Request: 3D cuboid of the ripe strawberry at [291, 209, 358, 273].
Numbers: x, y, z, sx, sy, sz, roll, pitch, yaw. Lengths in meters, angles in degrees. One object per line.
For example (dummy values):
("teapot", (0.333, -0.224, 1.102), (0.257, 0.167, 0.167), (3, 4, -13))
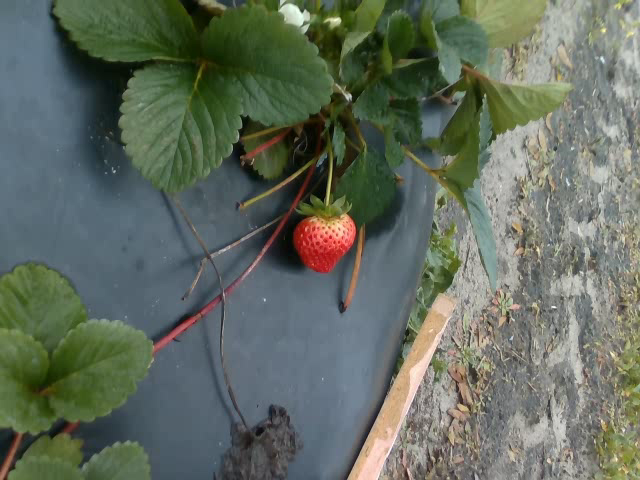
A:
("ripe strawberry", (0.005, 0.005, 0.465), (0.049, 0.065, 0.062), (20, 37, 16))
